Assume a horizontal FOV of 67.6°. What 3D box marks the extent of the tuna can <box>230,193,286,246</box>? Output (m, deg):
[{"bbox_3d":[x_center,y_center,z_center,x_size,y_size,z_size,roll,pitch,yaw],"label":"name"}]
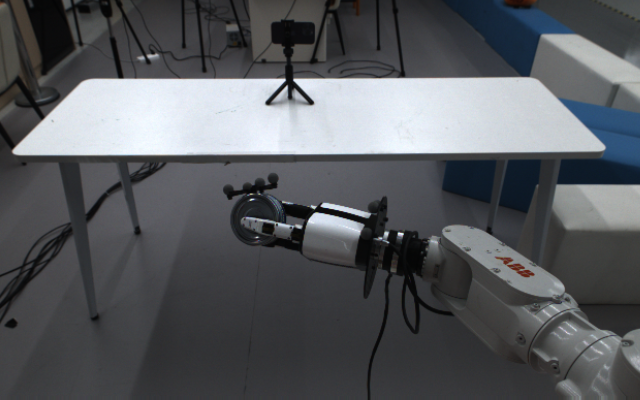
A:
[{"bbox_3d":[-0.097,0.036,0.773,0.085,0.085,0.034,12,3,14],"label":"tuna can"}]
